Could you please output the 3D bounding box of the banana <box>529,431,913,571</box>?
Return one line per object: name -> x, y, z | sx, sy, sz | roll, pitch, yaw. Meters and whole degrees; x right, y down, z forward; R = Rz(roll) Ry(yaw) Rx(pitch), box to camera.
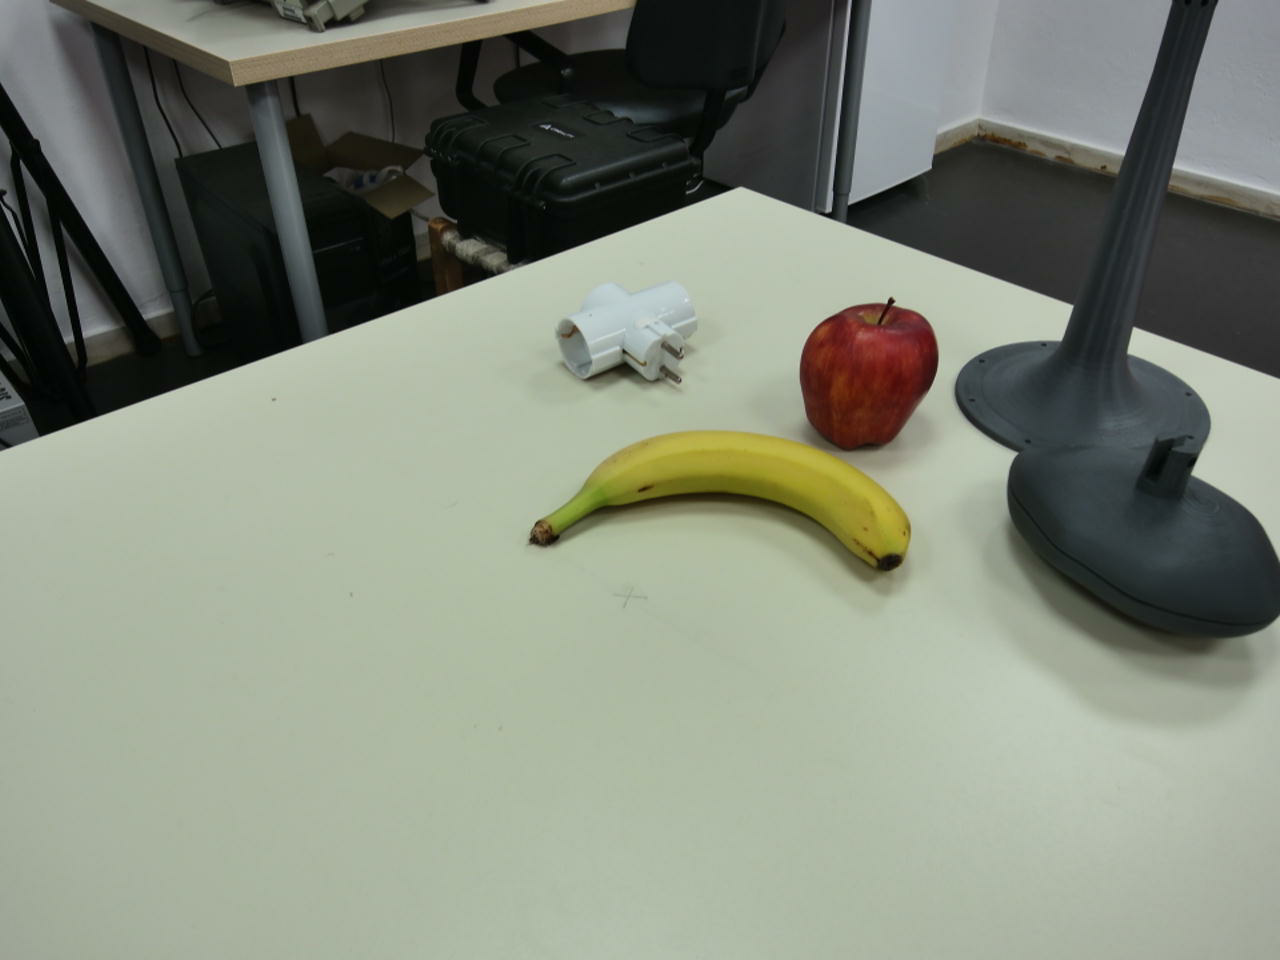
banana -> 0.046, 0.006, 0.547 | 0.196, 0.041, 0.094 | 8, 37, 12
